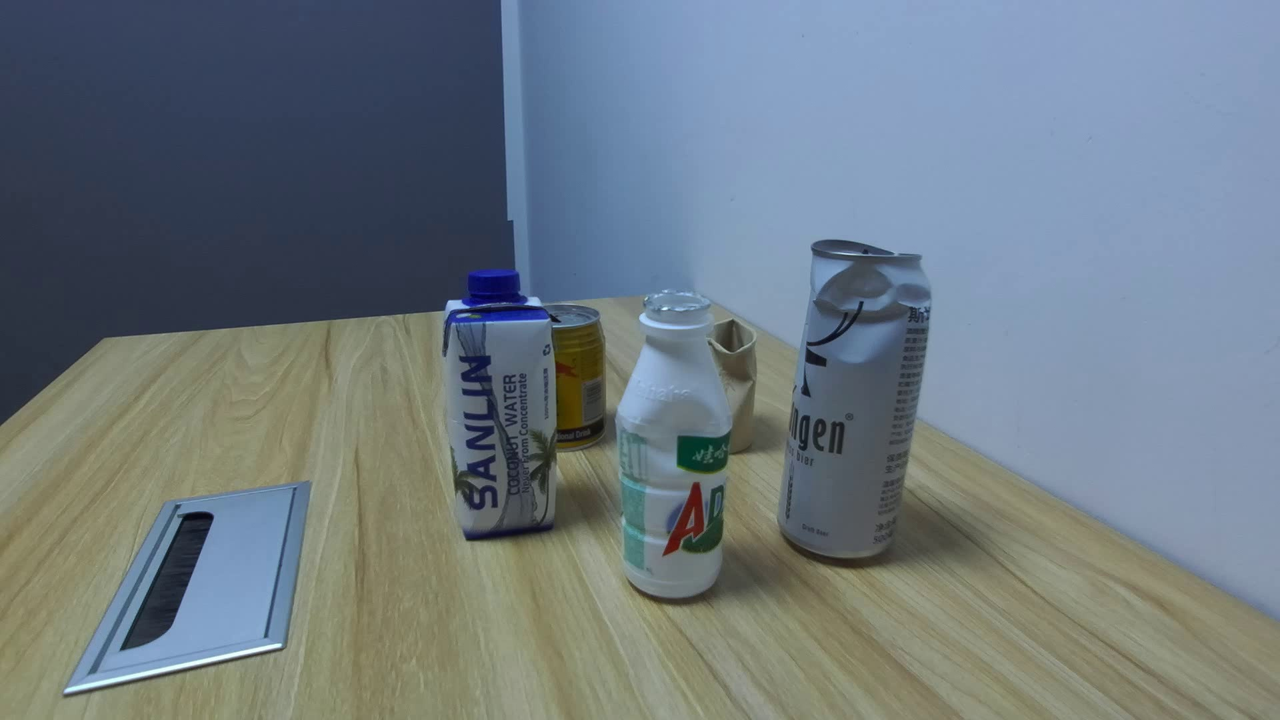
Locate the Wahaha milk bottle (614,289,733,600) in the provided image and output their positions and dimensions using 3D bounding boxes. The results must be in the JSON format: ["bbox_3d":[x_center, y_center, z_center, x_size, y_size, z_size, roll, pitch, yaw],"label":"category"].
[{"bbox_3d":[0.017,0.043,0.342,0.055,0.149,0.055,1,21,0],"label":"Wahaha milk bottle"}]

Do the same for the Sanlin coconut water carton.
[{"bbox_3d":[-0.079,0.024,0.403,0.061,0.144,0.060,-4,20,-16],"label":"Sanlin coconut water carton"}]

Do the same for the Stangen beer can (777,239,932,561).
[{"bbox_3d":[0.112,0.023,0.376,0.066,0.166,0.066,5,20,12],"label":"Stangen beer can"}]

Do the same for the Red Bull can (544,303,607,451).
[{"bbox_3d":[-0.056,0.009,0.497,0.067,0.093,0.067,2,23,0],"label":"Red Bull can"}]
